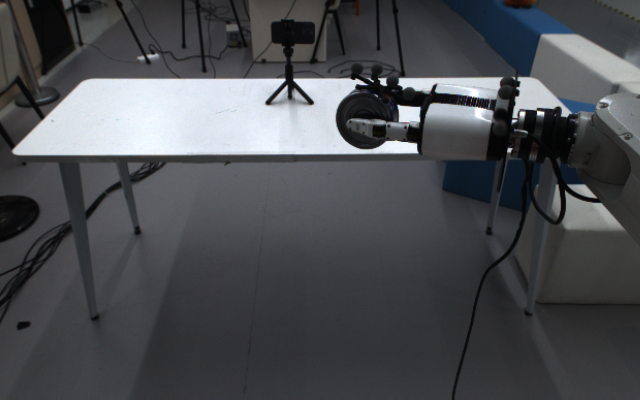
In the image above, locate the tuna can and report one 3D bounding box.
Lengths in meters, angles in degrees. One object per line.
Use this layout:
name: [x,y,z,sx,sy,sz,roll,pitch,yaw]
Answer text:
tuna can: [0.070,-0.110,0.687,0.085,0.085,0.034,15,31,18]
